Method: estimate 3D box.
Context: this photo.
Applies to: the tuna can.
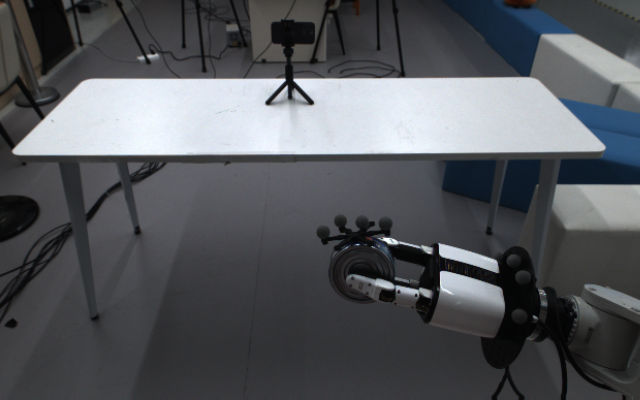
[{"bbox_3d":[0.058,0.096,0.623,0.085,0.085,0.034,6,18,5],"label":"tuna can"}]
